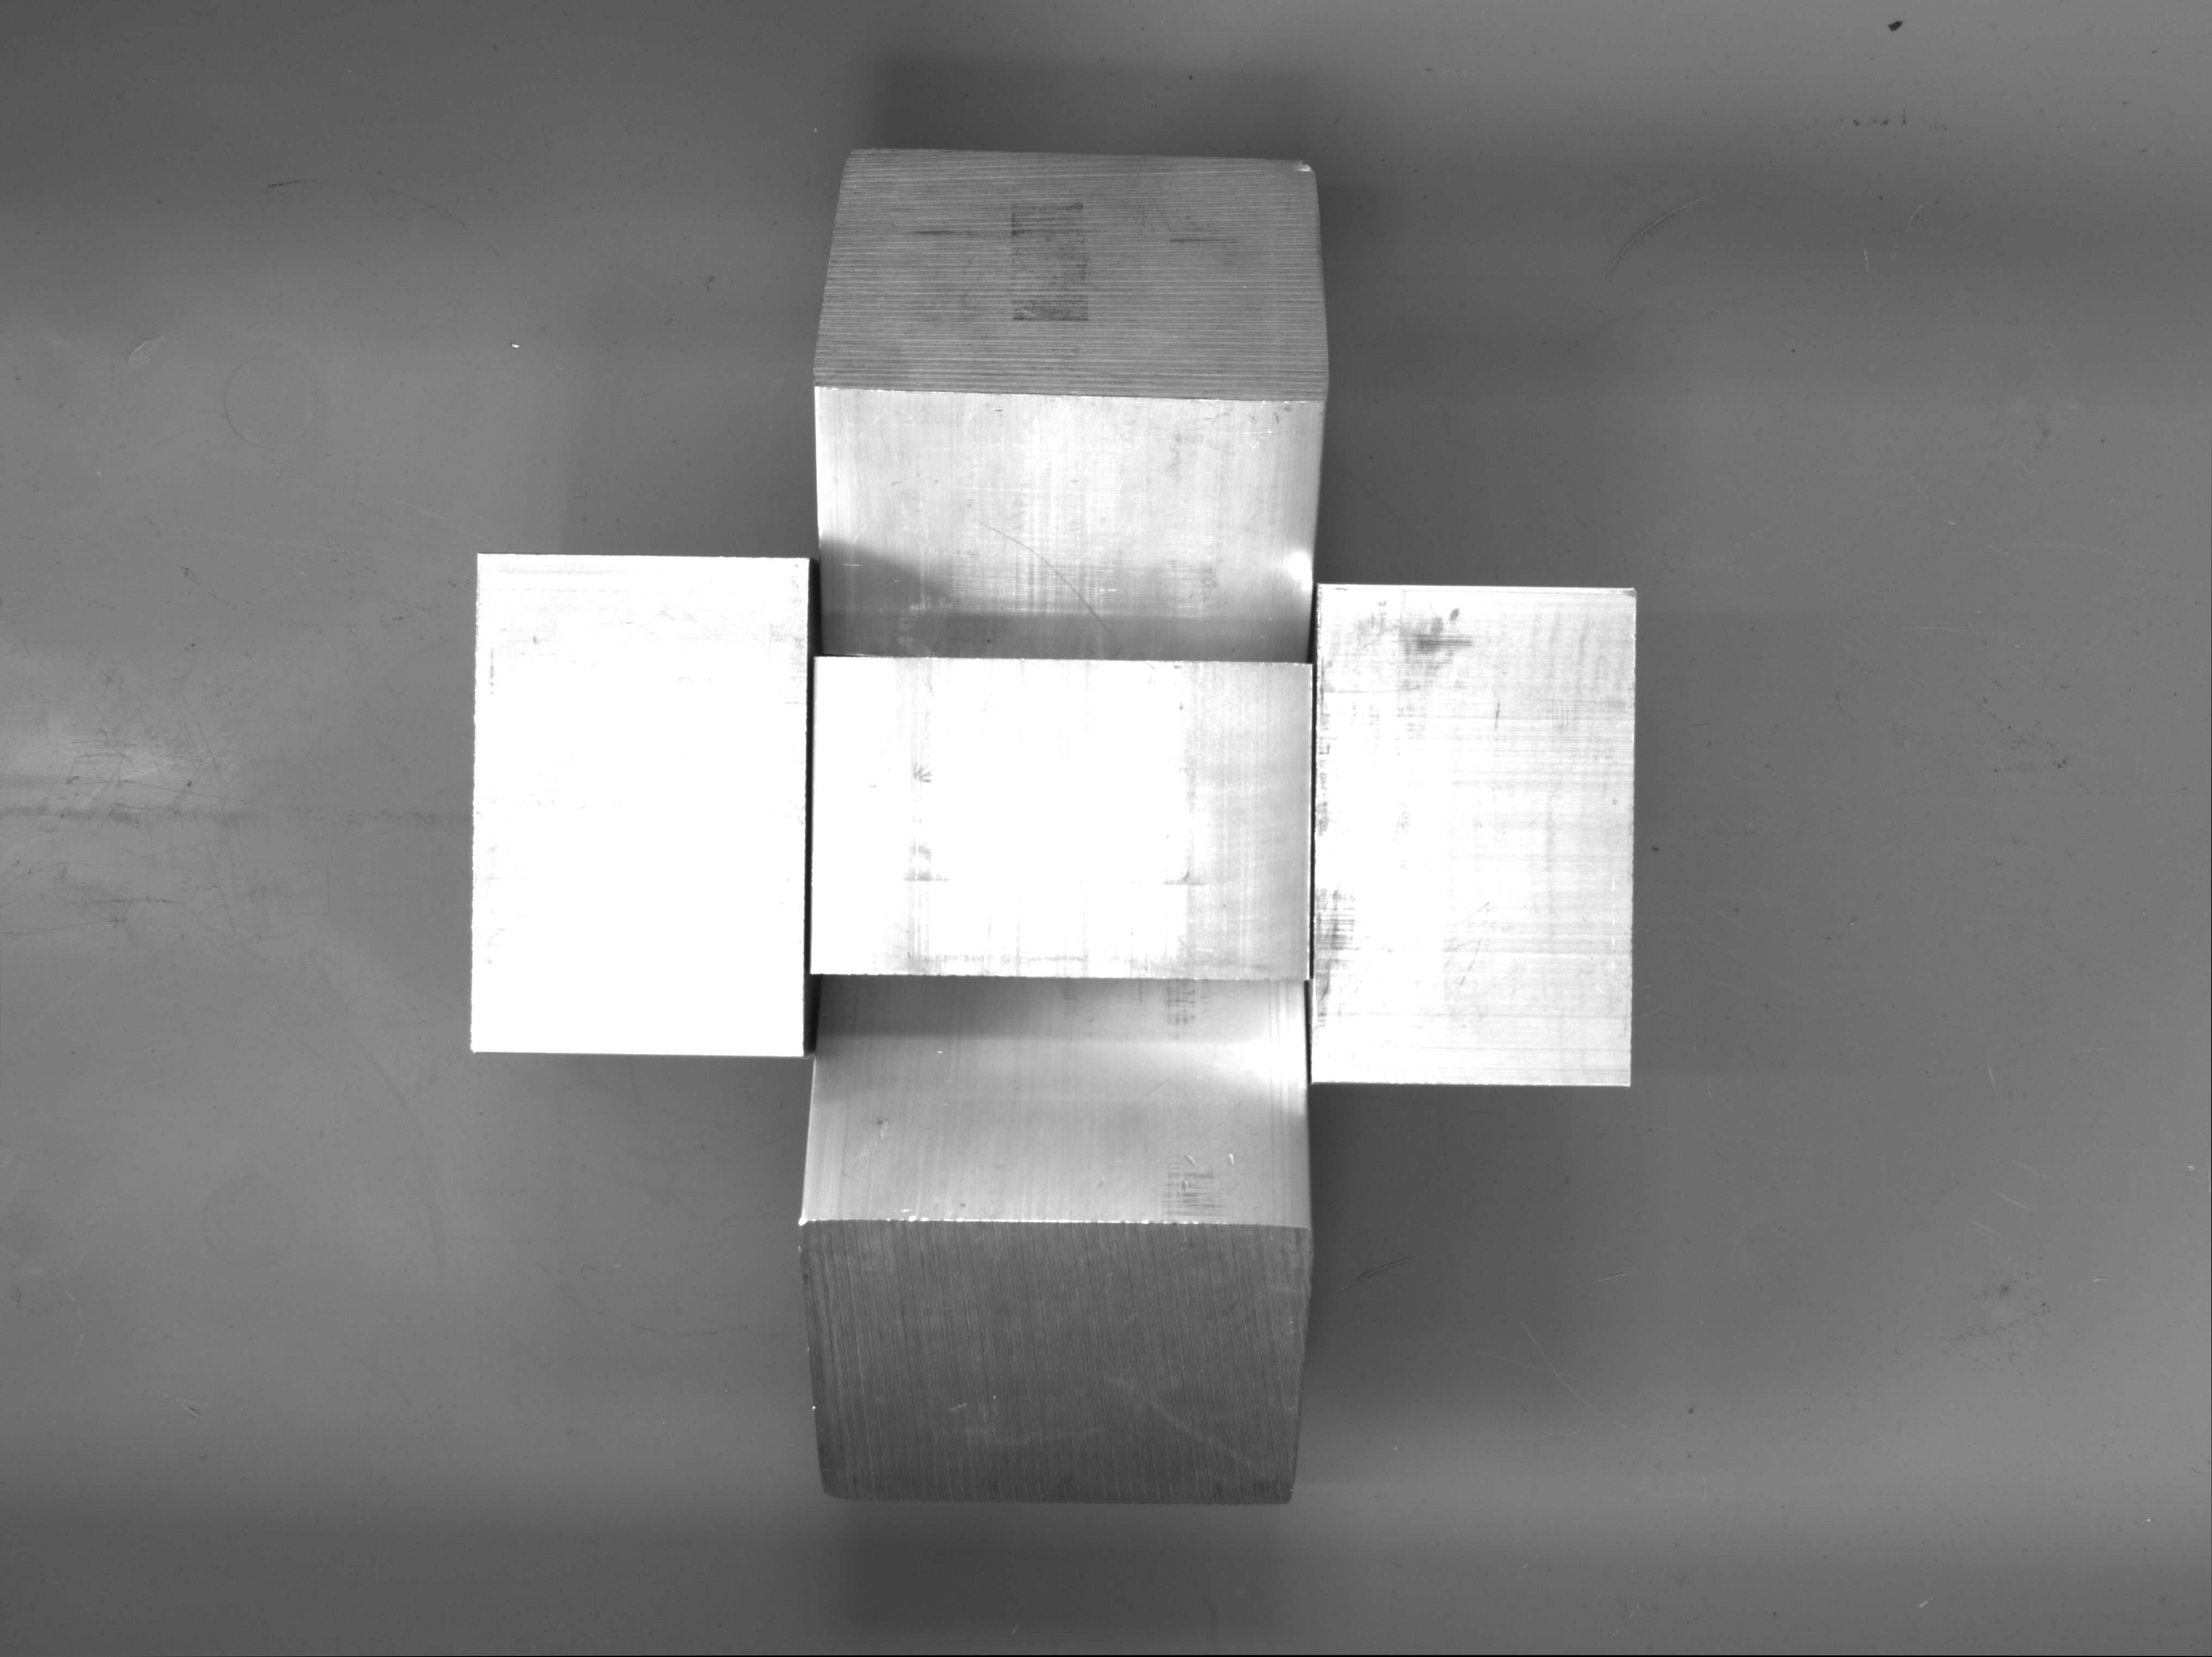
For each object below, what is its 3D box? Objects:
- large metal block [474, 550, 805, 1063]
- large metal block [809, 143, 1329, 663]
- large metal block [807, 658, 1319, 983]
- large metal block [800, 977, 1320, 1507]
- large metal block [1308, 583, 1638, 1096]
[{"bbox_3d":[-0.074,-0.003,0.617,0.050,0.080,0.080,1,90,0],"label":"large metal block"},{"bbox_3d":[-0.005,-0.072,0.611,0.080,0.080,0.050,2,127,0],"label":"large metal block"},{"bbox_3d":[-0.007,-0.001,0.617,0.080,0.080,0.050,1,90,0],"label":"large metal block"},{"bbox_3d":[-0.008,0.070,0.610,0.080,0.080,0.050,1,48,-1],"label":"large metal block"},{"bbox_3d":[0.058,0.002,0.617,0.050,0.080,0.080,1,90,0],"label":"large metal block"}]
